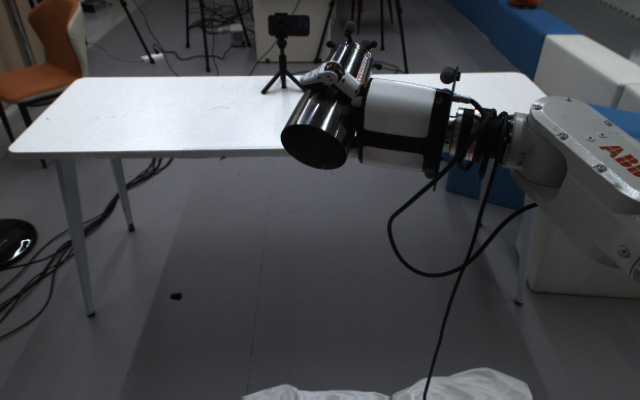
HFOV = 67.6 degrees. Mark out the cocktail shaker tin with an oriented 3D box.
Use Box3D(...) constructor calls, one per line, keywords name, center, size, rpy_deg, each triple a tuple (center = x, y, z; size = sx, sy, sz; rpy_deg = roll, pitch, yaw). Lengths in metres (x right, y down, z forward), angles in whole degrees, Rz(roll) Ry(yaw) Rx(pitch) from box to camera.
Box3D(name="cocktail shaker tin", center=(0.018, -0.135, 0.665), size=(0.093, 0.093, 0.170), rpy_deg=(14, 61, 17))
